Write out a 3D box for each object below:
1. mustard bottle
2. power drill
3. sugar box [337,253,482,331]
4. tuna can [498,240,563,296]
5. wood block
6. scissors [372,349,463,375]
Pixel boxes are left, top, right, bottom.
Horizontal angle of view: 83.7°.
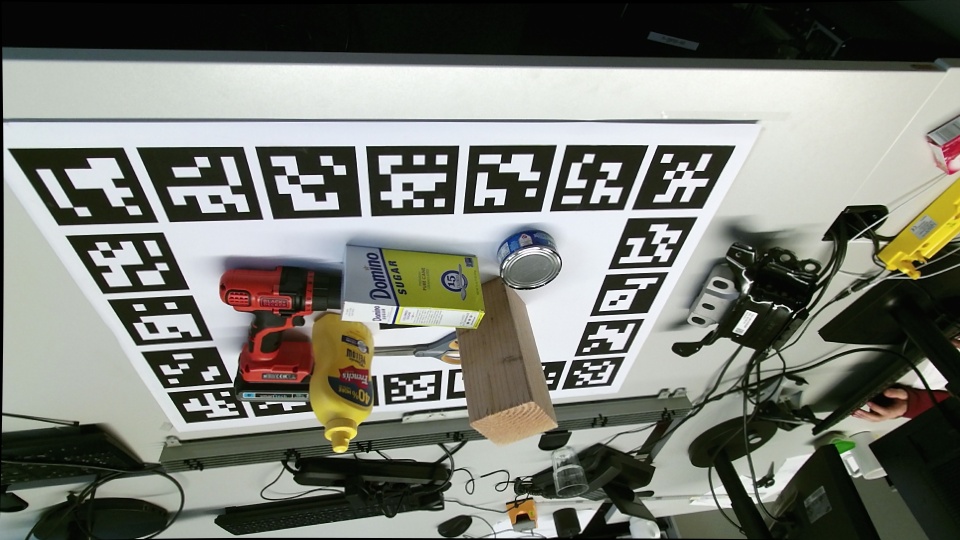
[{"bbox_3d":[-0.190,0.165,0.743,0.058,0.190,0.096,-33,131,18],"label":"mustard bottle"},{"bbox_3d":[-0.242,0.091,0.740,0.185,0.057,0.187,7,125,-19],"label":"power drill"},{"bbox_3d":[-0.092,0.031,0.694,0.177,0.092,0.045,7,135,-17],"label":"sugar box"},{"bbox_3d":[0.069,0.000,0.734,0.086,0.033,0.086,-6,134,-6],"label":"tuna can"},{"bbox_3d":[0.031,0.130,0.751,0.091,0.205,0.090,-24,133,10],"label":"wood block"},{"bbox_3d":[-0.071,0.148,0.865,0.204,0.016,0.088,-2,138,-12],"label":"scissors"}]
